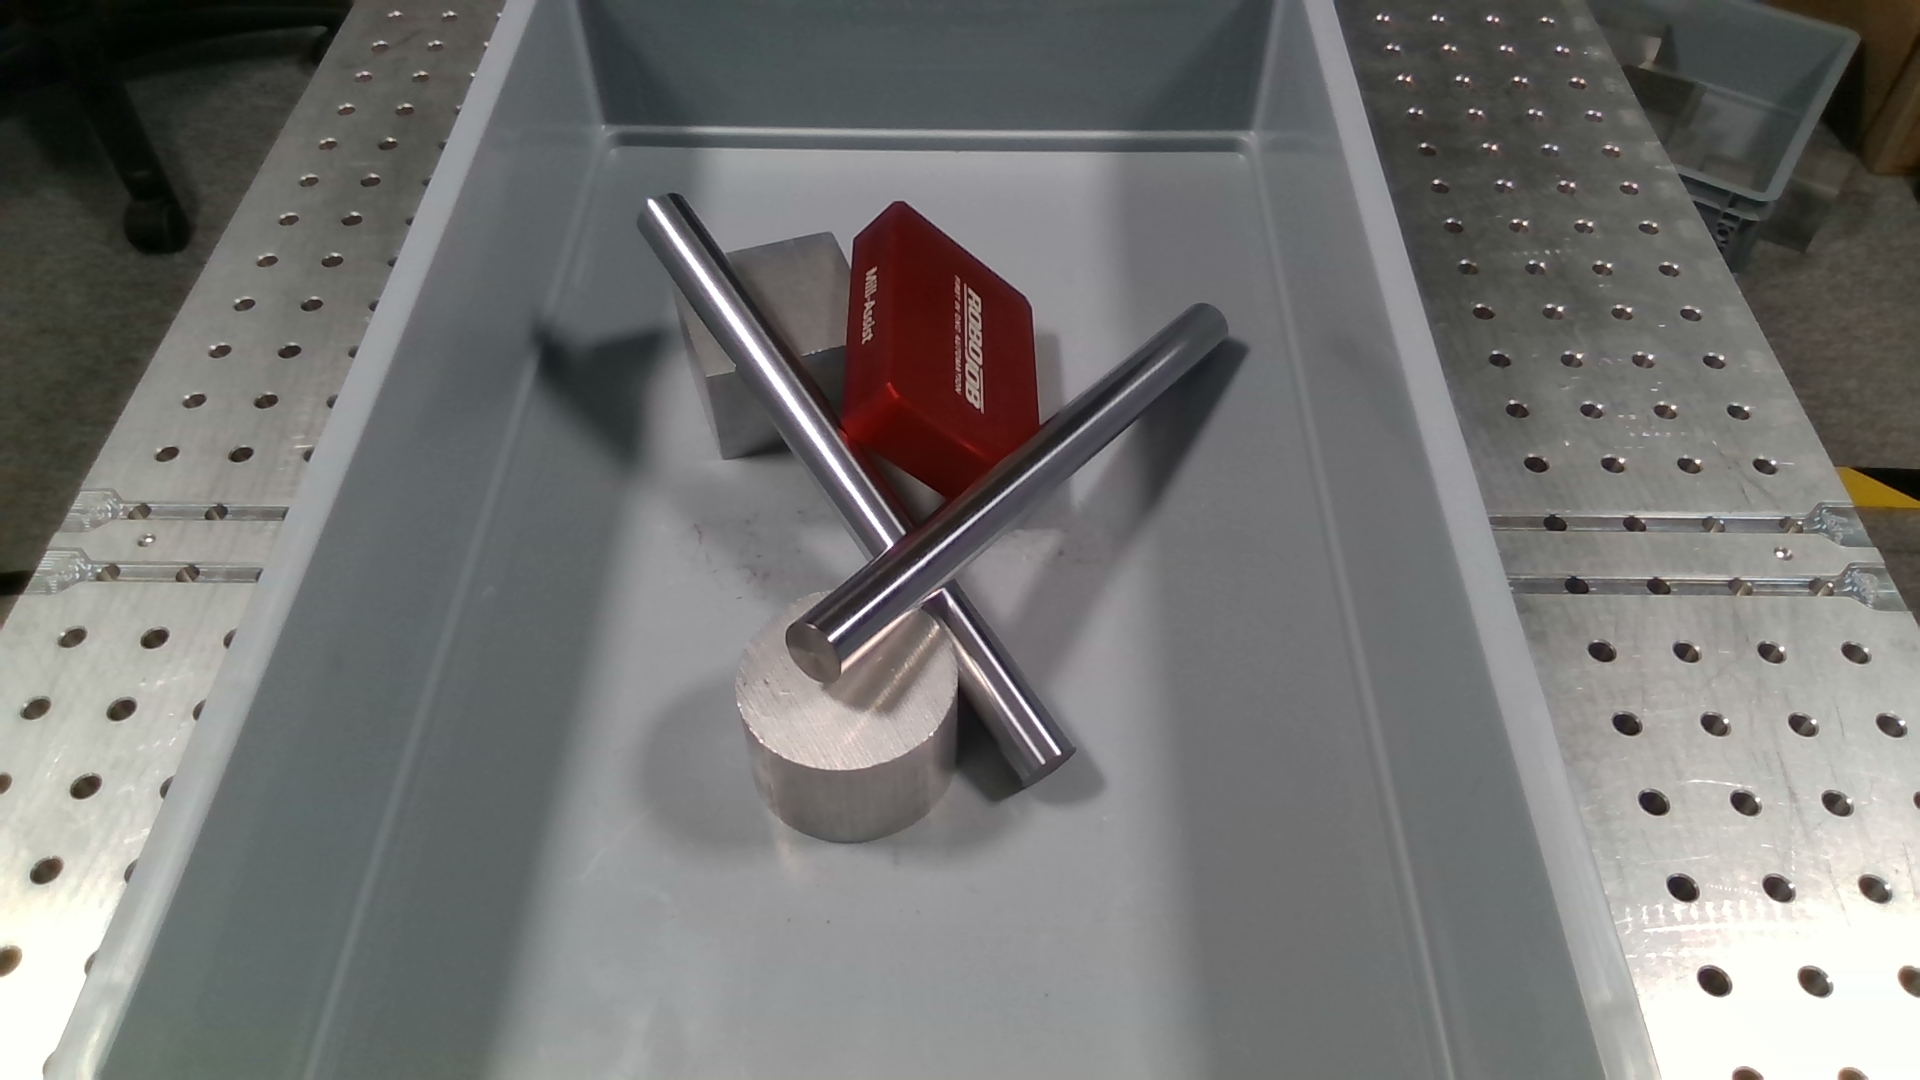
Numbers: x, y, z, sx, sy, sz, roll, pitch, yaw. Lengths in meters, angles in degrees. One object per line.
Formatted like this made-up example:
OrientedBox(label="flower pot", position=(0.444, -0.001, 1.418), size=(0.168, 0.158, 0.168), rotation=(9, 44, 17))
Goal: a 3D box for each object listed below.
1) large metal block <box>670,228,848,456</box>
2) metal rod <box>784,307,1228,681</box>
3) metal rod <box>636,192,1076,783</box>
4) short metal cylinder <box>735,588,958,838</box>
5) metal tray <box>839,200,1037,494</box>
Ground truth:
OrientedBox(label="large metal block", position=(-0.086, -0.094, 0.644), size=(0.080, 0.050, 0.080), rotation=(-15, 52, -12))
OrientedBox(label="metal rod", position=(0.035, -0.033, 0.575), size=(0.025, 0.025, 0.299), rotation=(29, 43, 22))
OrientedBox(label="metal rod", position=(-0.049, -0.031, 0.563), size=(0.025, 0.025, 0.299), rotation=(-28, 69, -21))
OrientedBox(label="short metal cylinder", position=(-0.041, 0.064, 0.515), size=(0.080, 0.050, 0.080), rotation=(0, 50, 0))
OrientedBox(label="metal tray", position=(-0.007, -0.081, 0.614), size=(0.090, 0.030, 0.130), rotation=(33, 39, -32))
